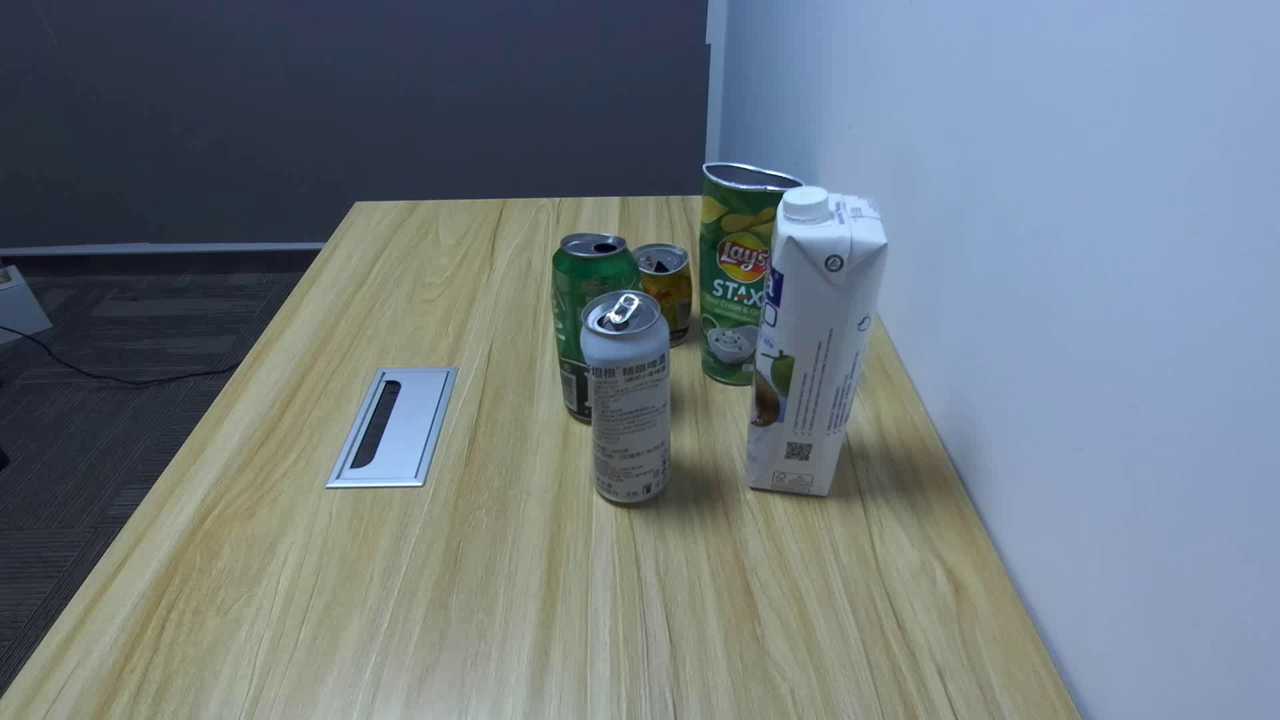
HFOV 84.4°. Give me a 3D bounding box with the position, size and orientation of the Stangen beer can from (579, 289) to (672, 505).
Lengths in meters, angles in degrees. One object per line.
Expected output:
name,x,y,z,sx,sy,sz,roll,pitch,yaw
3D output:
Stangen beer can,-0.012,0.031,0.534,0.070,0.173,0.069,-24,42,-27

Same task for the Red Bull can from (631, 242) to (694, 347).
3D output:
Red Bull can,0.019,-0.066,0.724,0.072,0.092,0.072,0,36,0

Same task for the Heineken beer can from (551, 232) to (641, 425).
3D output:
Heineken beer can,-0.034,-0.022,0.605,0.068,0.168,0.069,4,26,14

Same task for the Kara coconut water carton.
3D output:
Kara coconut water carton,0.125,-0.008,0.524,0.075,0.245,0.077,5,37,6

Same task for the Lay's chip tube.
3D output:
Lay's chip tube,0.095,-0.073,0.642,0.075,0.200,0.068,-7,37,-9
